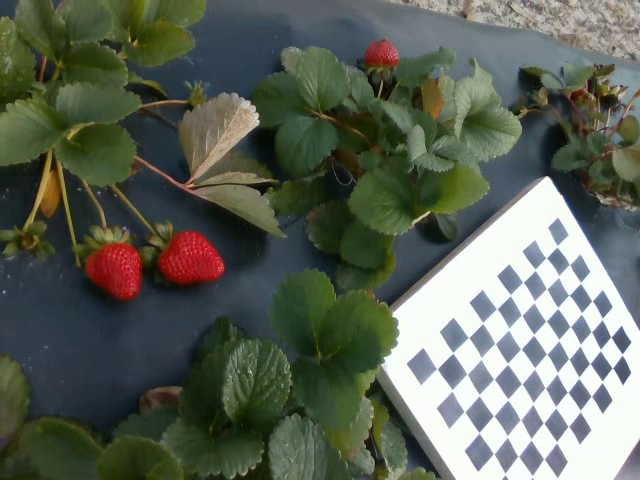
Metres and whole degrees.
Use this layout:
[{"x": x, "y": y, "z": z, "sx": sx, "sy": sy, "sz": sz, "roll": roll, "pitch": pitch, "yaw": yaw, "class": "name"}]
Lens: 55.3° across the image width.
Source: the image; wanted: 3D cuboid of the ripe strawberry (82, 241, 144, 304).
[{"x": -0.167, "y": 0.028, "z": 0.505, "sx": 0.048, "sy": 0.056, "sz": 0.041, "roll": -19, "pitch": -27, "yaw": -30, "class": "ripe strawberry"}]

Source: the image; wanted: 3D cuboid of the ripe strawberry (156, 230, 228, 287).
[{"x": -0.111, "y": 0.017, "z": 0.531, "sx": 0.064, "sy": 0.058, "sz": 0.051, "roll": 23, "pitch": -29, "yaw": 15, "class": "ripe strawberry"}]
